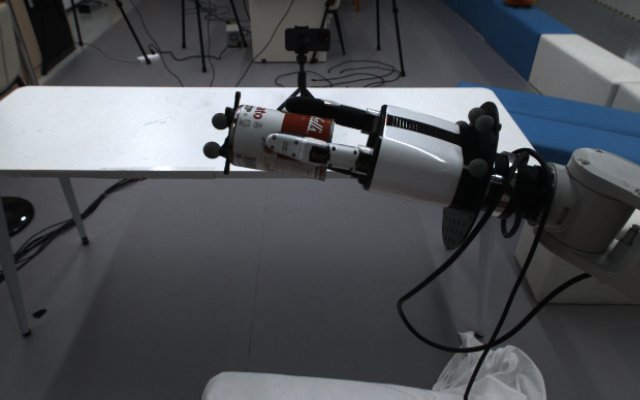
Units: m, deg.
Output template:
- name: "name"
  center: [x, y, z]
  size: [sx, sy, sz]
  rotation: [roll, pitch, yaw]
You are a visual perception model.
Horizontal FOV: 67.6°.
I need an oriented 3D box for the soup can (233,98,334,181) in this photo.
- name: "soup can"
  center: [-0.037, -0.061, 0.520]
  size: [0.101, 0.067, 0.067]
  rotation: [10, 35, 0]
